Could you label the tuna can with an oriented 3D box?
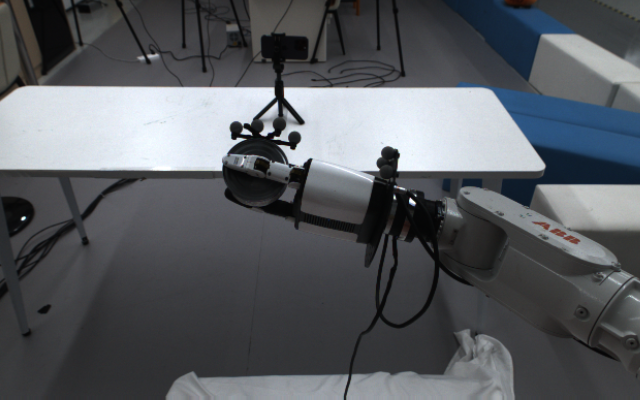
[{"bbox_3d":[-0.083,-0.036,0.636,0.085,0.034,0.085,1,73,-3],"label":"tuna can"}]
